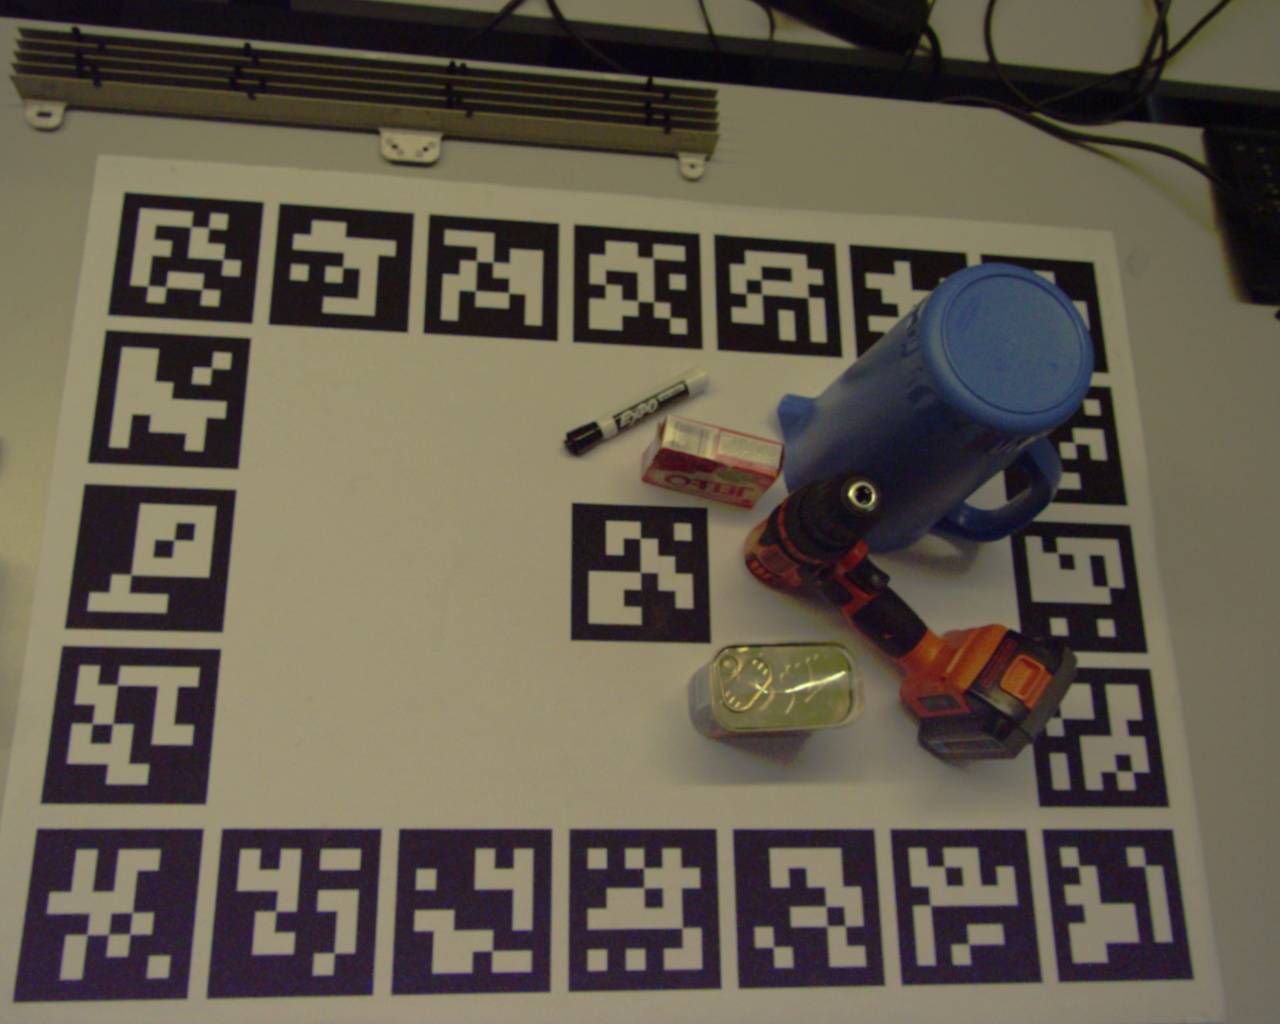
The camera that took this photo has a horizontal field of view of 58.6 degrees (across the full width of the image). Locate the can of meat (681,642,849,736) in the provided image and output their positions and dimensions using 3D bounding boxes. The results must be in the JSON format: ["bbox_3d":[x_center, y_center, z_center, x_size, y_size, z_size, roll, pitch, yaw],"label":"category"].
[{"bbox_3d":[0.084,0.128,0.806,0.101,0.084,0.058,1,73,-9],"label":"can of meat"}]

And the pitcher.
[{"bbox_3d":[0.209,-0.048,0.800,0.189,0.242,0.133,32,76,7],"label":"pitcher"}]

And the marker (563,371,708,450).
[{"bbox_3d":[-0.004,-0.078,0.882,0.120,0.020,0.020,-25,81,-13],"label":"marker"}]

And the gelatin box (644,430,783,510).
[{"bbox_3d":[0.054,-0.029,0.853,0.089,0.073,0.030,13,78,-7],"label":"gelatin box"}]

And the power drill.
[{"bbox_3d":[0.159,0.056,0.788,0.186,0.185,0.057,38,75,-4],"label":"power drill"}]
